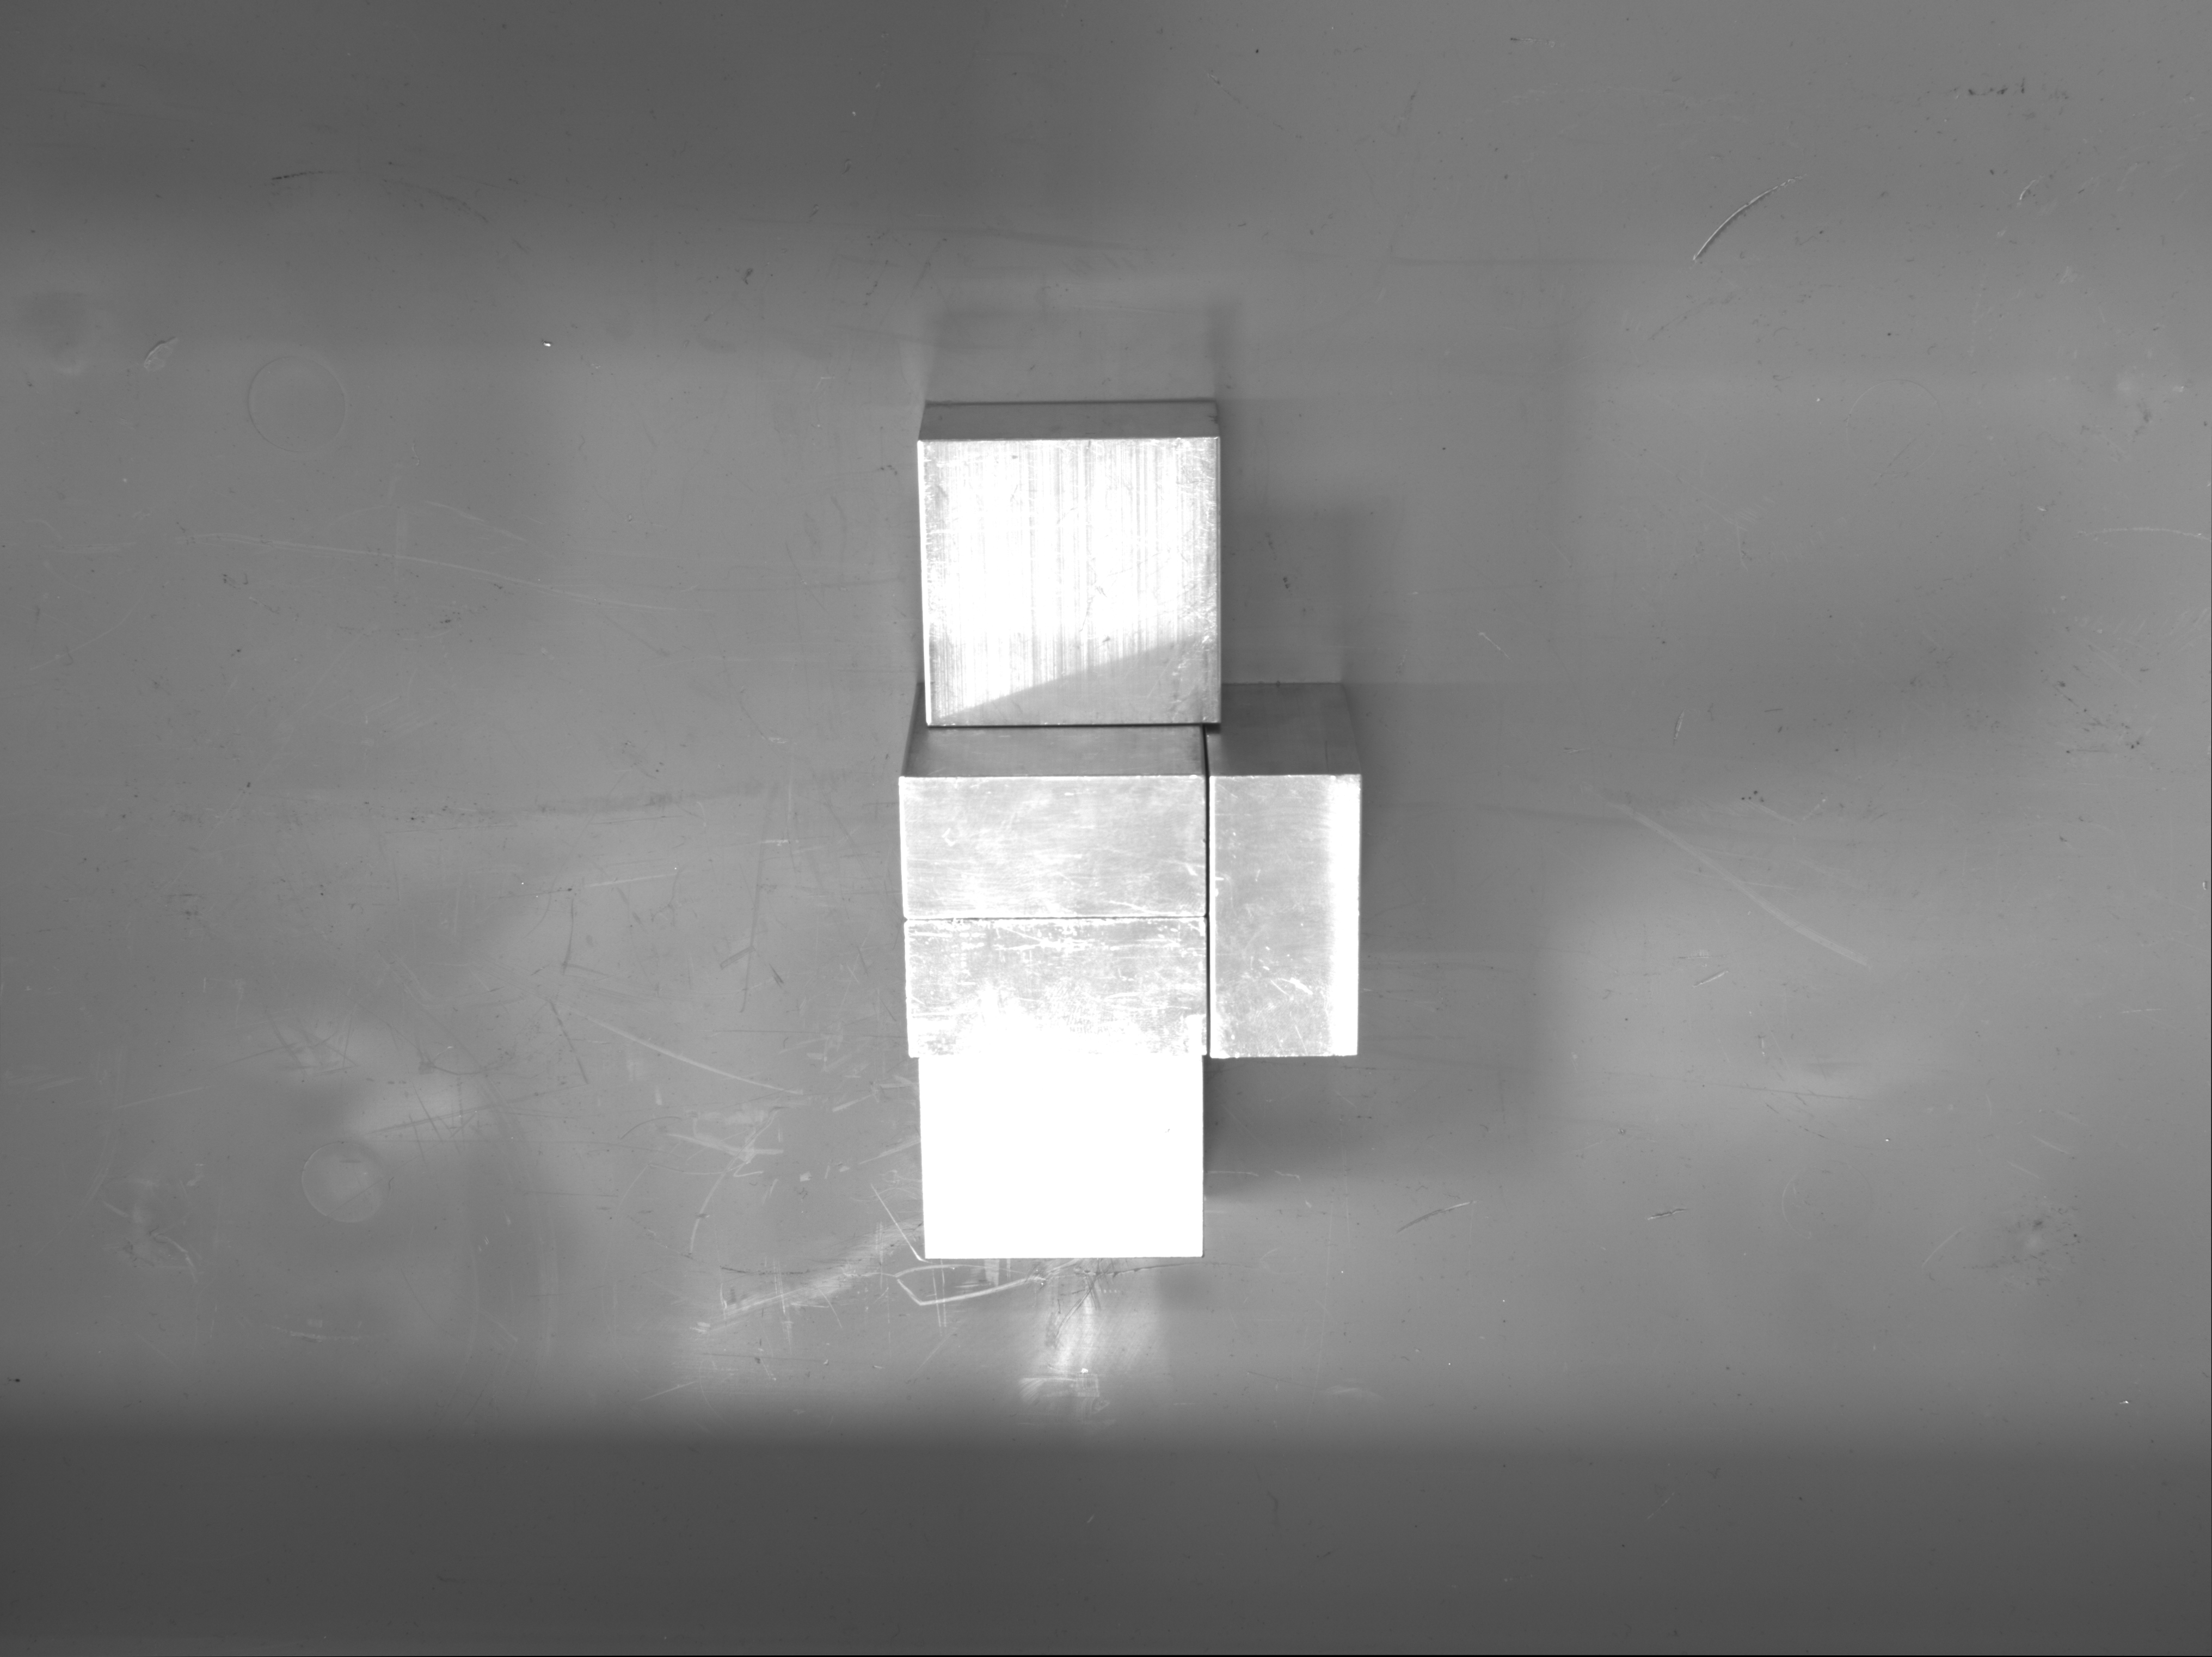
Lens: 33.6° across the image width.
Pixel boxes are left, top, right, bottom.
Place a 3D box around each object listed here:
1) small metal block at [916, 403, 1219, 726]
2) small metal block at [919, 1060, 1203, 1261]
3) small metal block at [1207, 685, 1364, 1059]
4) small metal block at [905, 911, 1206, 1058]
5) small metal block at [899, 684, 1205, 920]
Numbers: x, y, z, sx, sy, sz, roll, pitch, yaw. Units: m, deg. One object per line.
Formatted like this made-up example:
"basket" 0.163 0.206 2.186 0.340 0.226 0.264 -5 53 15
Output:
"small metal block" -0.006 -0.045 0.626 0.050 0.025 0.050 0 110 0
"small metal block" -0.008 0.050 0.660 0.050 0.025 0.050 0 110 0
"small metal block" 0.030 0.007 0.631 0.025 0.050 0.050 0 110 0
"small metal block" -0.008 0.018 0.635 0.050 0.050 0.025 0 110 0
"small metal block" -0.009 -0.005 0.627 0.050 0.050 0.025 0 110 0
